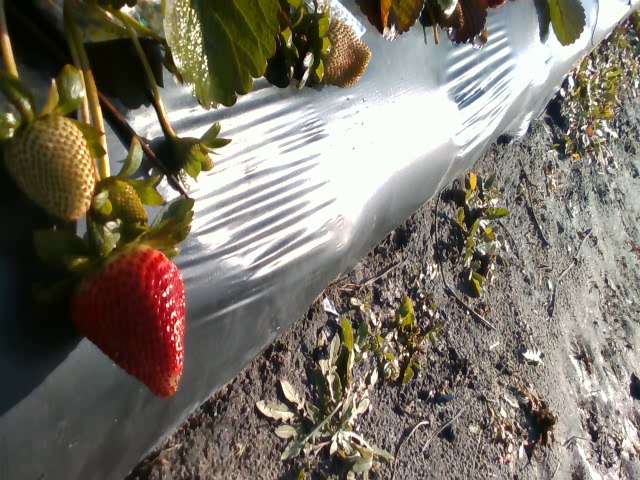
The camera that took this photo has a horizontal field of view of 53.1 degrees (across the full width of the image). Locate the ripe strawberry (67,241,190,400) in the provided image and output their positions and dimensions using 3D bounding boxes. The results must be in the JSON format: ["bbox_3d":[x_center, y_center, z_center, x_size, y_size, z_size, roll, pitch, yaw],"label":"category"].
[{"bbox_3d":[-0.062,0.030,0.213,0.042,0.059,0.042,-21,-6,24],"label":"ripe strawberry"}]
